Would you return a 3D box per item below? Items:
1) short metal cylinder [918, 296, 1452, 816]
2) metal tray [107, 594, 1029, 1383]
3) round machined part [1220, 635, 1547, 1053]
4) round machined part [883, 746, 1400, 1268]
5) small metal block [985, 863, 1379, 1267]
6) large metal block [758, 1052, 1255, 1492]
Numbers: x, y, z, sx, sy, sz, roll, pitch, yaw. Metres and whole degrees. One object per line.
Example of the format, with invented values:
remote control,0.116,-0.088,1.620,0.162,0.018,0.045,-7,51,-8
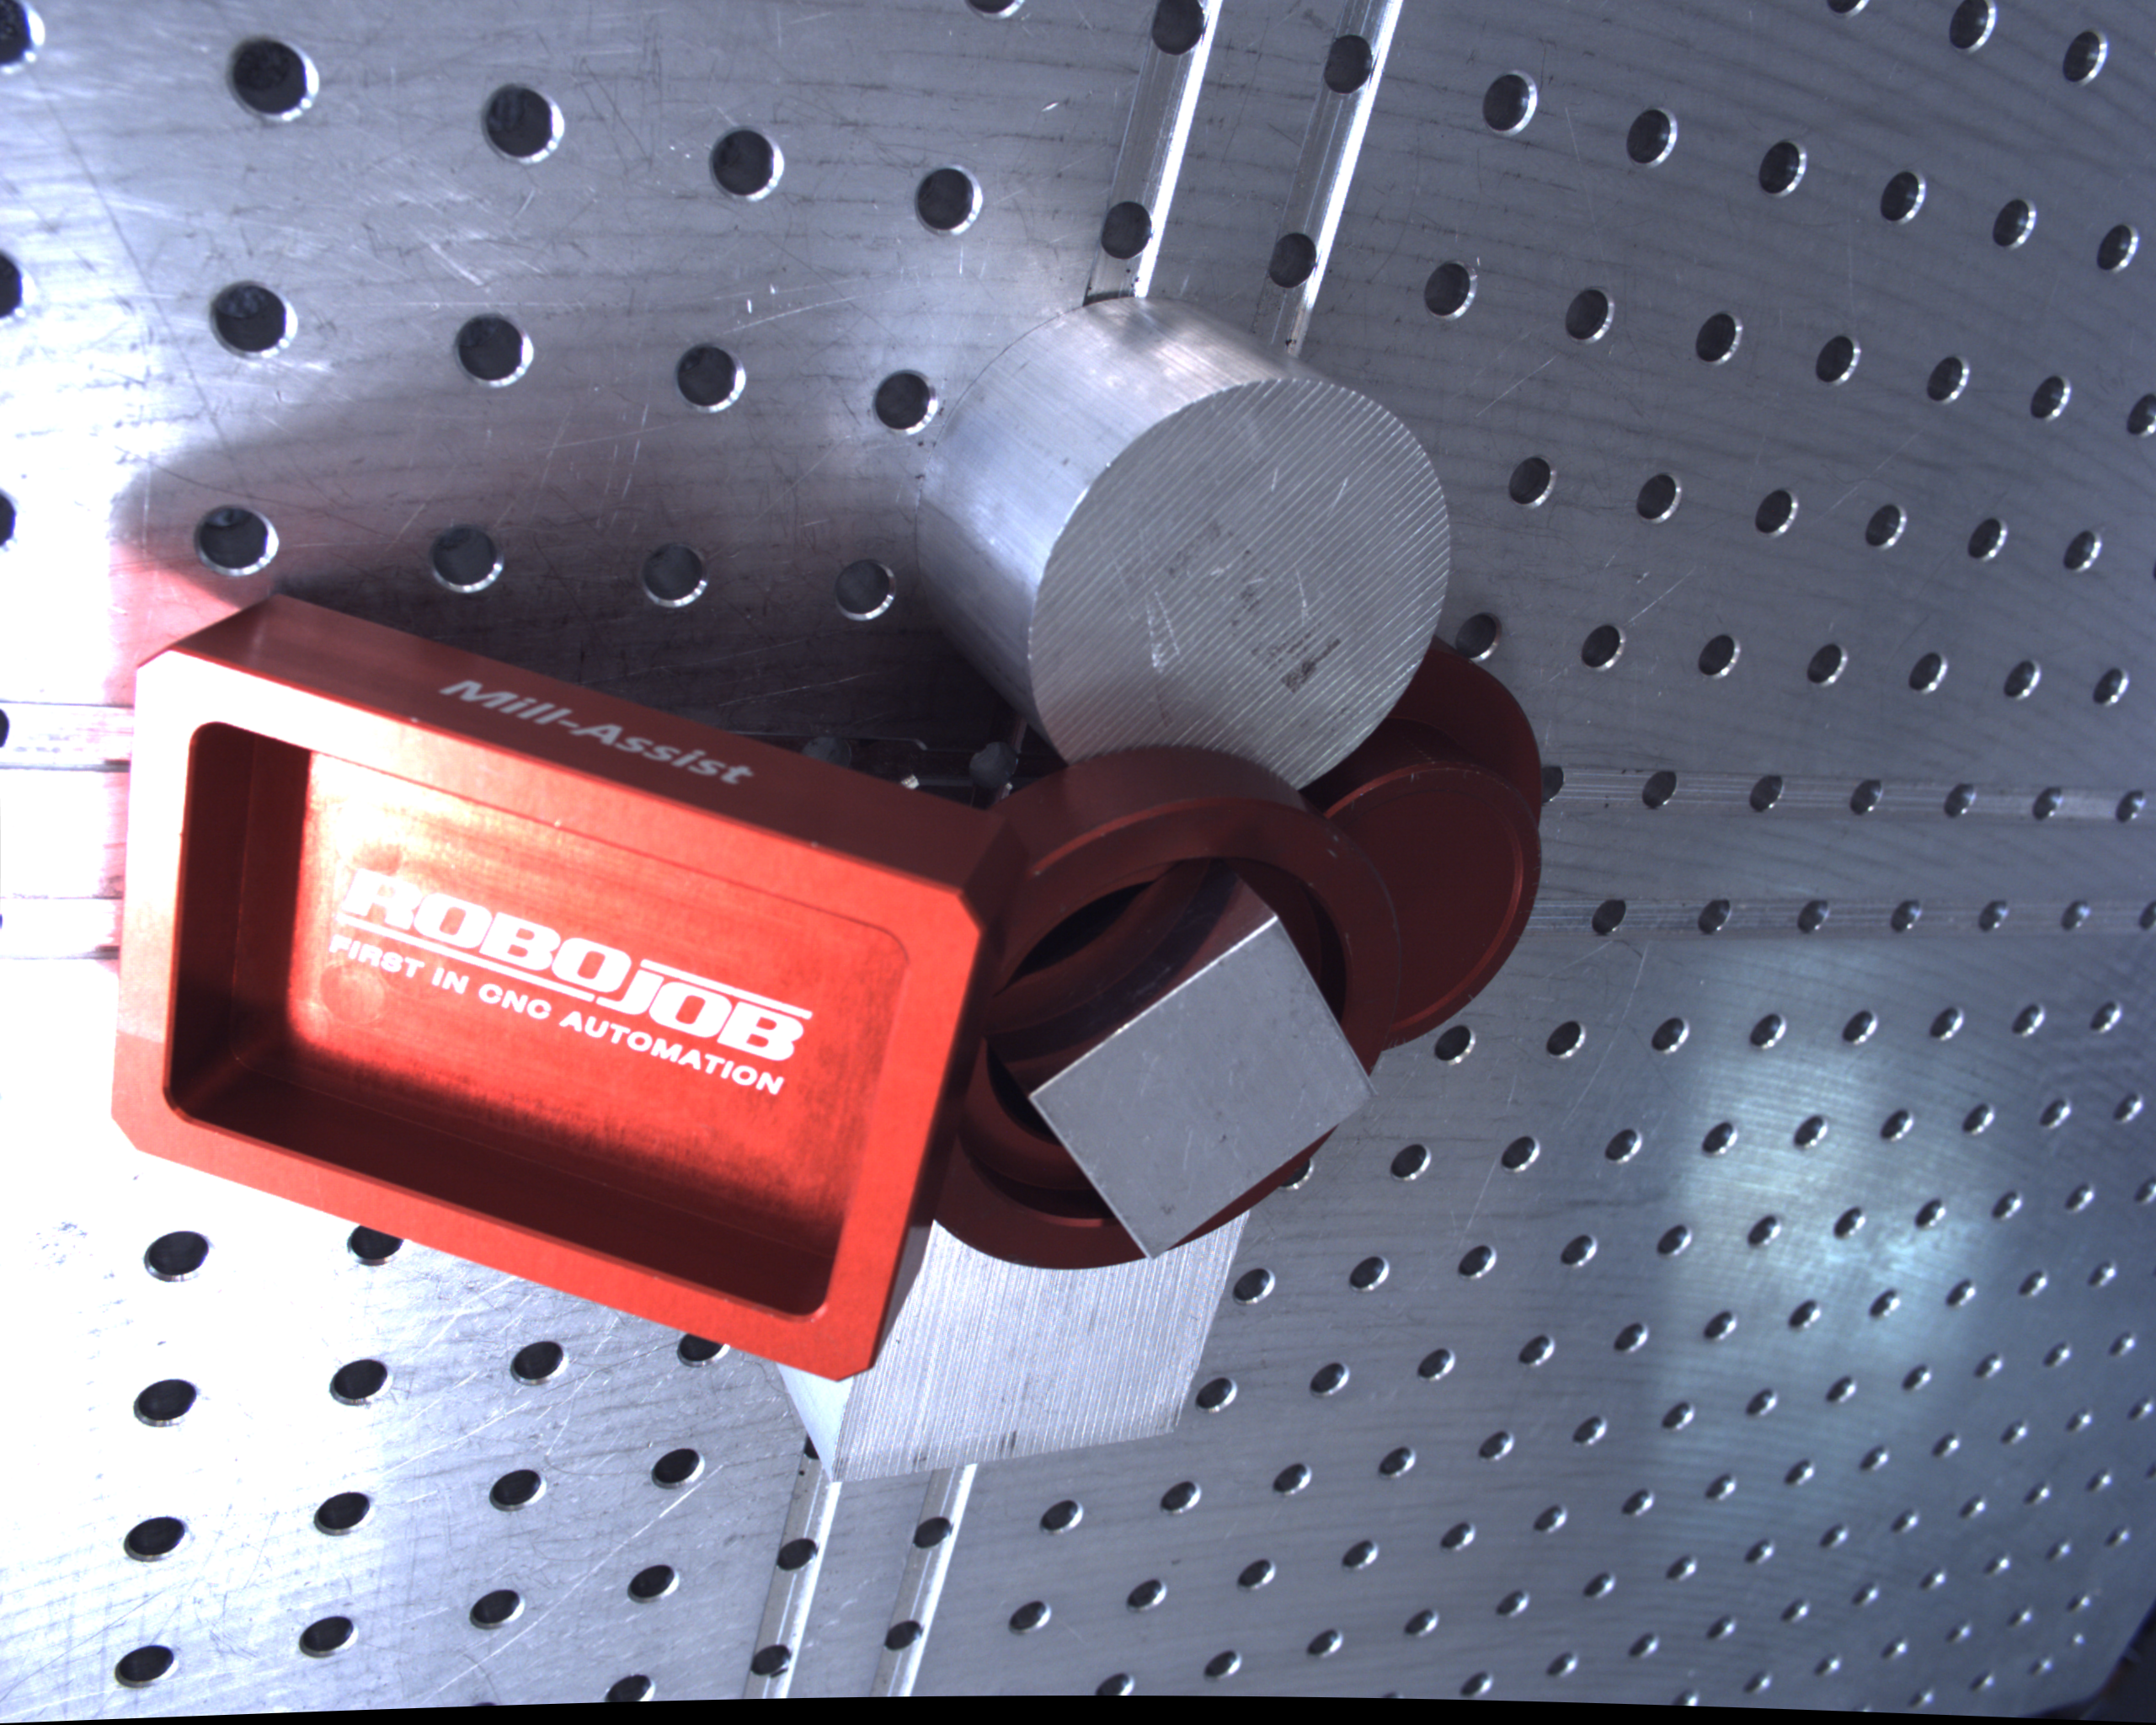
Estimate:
short metal cylinder,0.018,-0.054,0.371,0.081,0.050,0.079,-14,124,-21
metal tray,-0.082,0.020,0.329,0.131,0.030,0.089,17,114,4
round machined part,0.056,0.001,0.430,0.099,0.042,0.097,-14,124,-21
round machined part,0.006,0.022,0.379,0.099,0.042,0.097,-14,124,-21
small metal block,0.017,0.034,0.361,0.050,0.025,0.050,-36,129,-4
large metal block,-0.015,0.077,0.431,0.081,0.050,0.079,1,118,-29
